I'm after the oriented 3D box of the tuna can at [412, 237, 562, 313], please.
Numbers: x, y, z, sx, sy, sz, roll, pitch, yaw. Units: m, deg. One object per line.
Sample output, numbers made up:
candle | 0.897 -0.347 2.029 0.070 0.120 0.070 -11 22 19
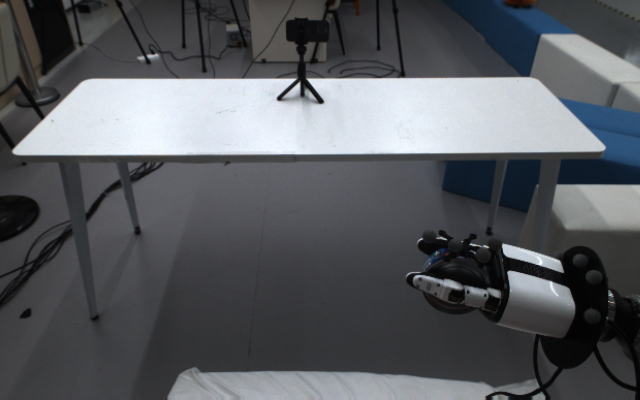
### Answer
tuna can | 0.176 0.102 0.626 0.085 0.085 0.034 7 21 7
